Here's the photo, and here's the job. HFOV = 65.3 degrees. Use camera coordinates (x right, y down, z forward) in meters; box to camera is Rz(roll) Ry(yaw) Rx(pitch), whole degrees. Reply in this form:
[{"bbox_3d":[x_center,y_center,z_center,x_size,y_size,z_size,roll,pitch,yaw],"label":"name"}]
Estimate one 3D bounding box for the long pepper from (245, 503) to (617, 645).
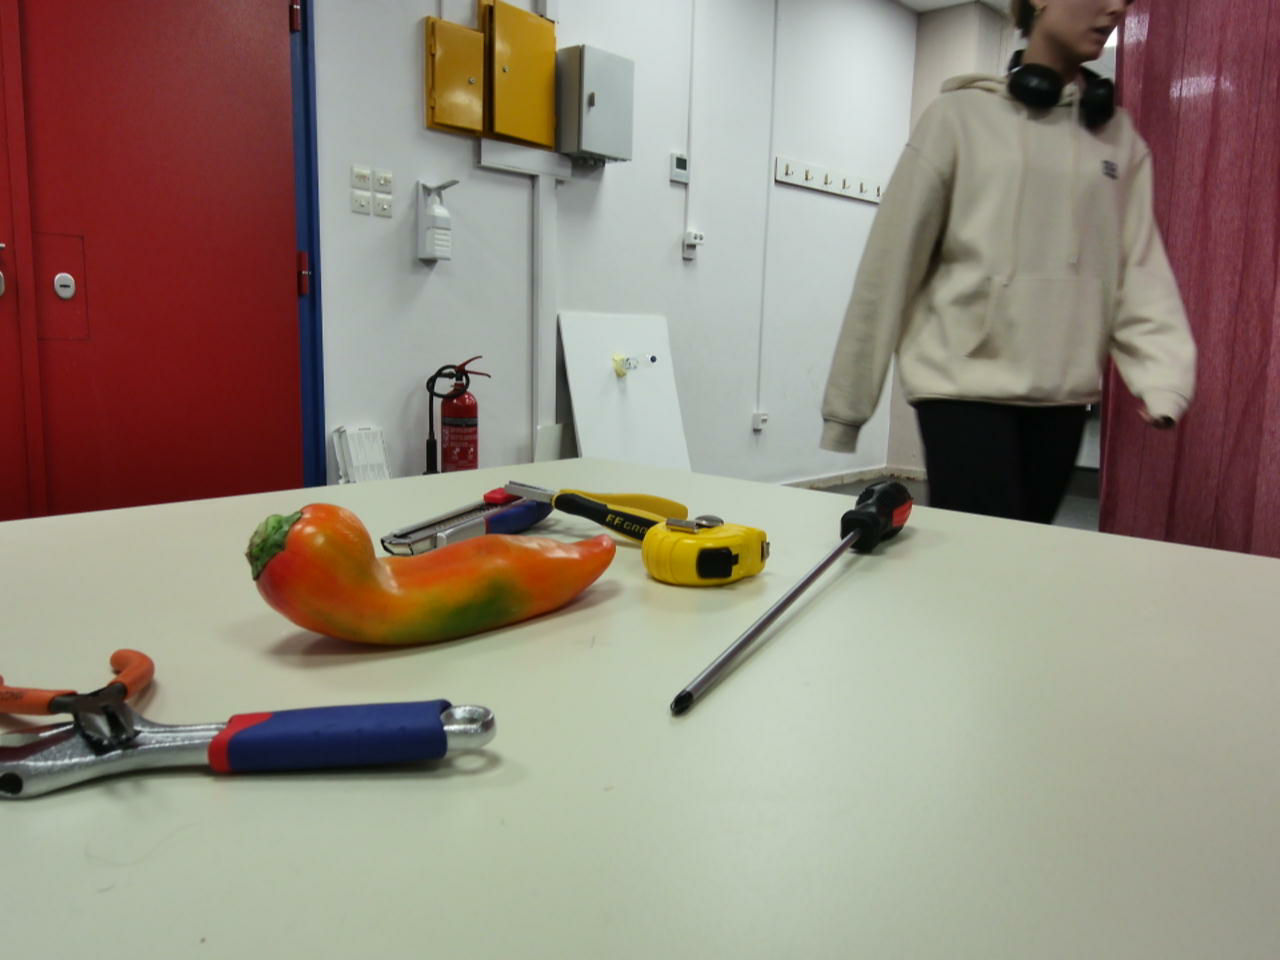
[{"bbox_3d":[-0.085,0.036,0.476,0.199,0.065,0.066,-6,9,-43],"label":"long pepper"}]
